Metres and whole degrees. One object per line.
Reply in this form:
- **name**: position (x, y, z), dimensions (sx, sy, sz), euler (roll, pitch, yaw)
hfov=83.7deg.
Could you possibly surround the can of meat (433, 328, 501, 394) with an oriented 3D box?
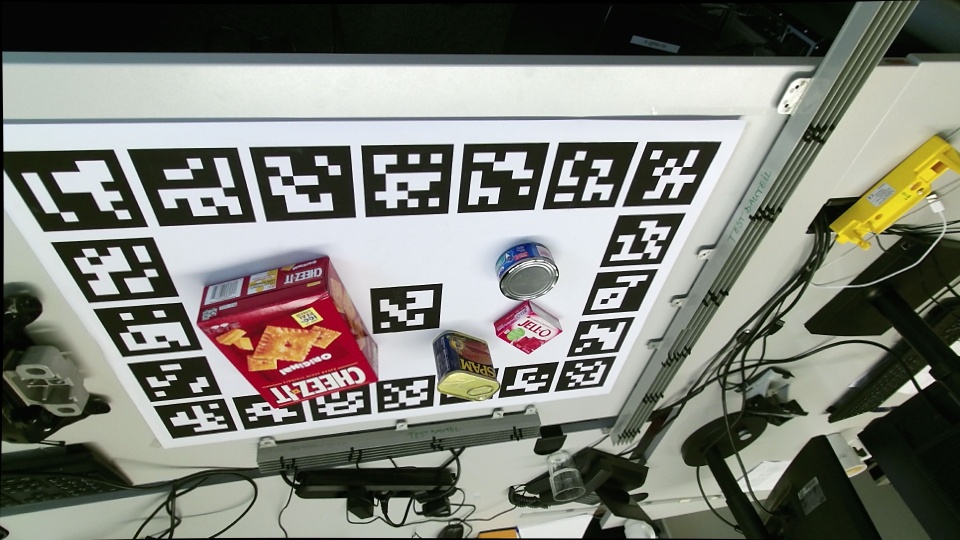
- **can of meat**: position (-0.024, 0.147, 0.873), dimensions (0.102, 0.083, 0.058), euler (20, 127, -33)

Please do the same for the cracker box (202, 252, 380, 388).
- **cracker box**: position (-0.251, 0.084, 0.752), dimensions (0.165, 0.071, 0.214), euler (-14, 138, 1)

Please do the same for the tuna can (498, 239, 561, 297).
- **tuna can**: position (0.070, -0.003, 0.767), dimensions (0.086, 0.033, 0.086), euler (-8, 133, -9)

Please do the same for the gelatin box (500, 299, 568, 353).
- **gelatin box**: position (0.087, 0.094, 0.877), dimensions (0.073, 0.030, 0.090), euler (-36, 130, 25)
